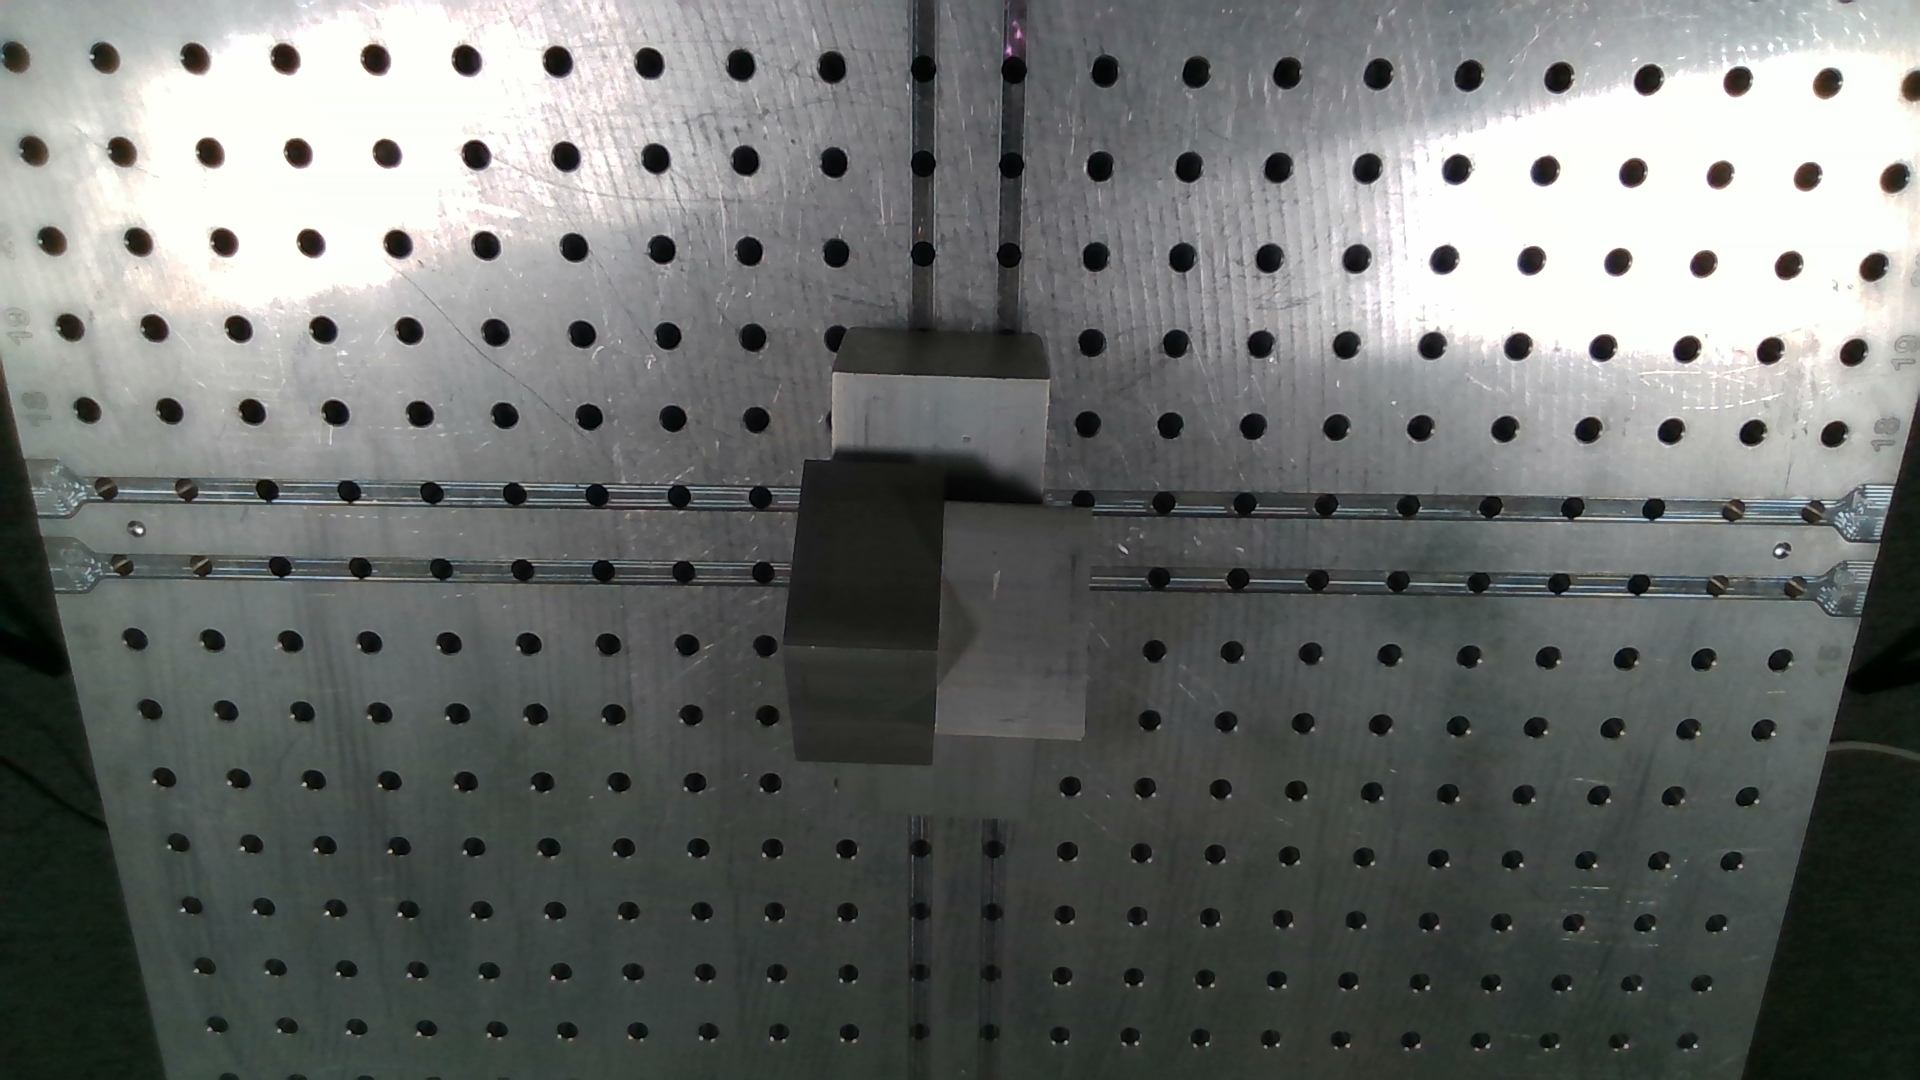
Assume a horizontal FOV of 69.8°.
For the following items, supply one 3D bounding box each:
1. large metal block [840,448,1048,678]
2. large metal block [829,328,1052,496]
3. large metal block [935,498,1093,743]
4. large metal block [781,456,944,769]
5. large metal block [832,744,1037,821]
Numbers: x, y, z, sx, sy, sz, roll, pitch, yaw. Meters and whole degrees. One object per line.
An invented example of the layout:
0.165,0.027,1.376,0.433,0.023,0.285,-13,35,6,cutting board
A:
-0.007,0.009,0.575,0.080,0.050,0.080,2,110,-1,large metal block
-0.008,-0.049,0.540,0.080,0.080,0.050,2,110,-1,large metal block
0.017,0.028,0.501,0.050,0.080,0.080,2,88,-1,large metal block
-0.033,0.027,0.497,0.050,0.080,0.080,2,143,-1,large metal block
-0.010,0.074,0.585,0.080,0.080,0.050,4,110,-1,large metal block
